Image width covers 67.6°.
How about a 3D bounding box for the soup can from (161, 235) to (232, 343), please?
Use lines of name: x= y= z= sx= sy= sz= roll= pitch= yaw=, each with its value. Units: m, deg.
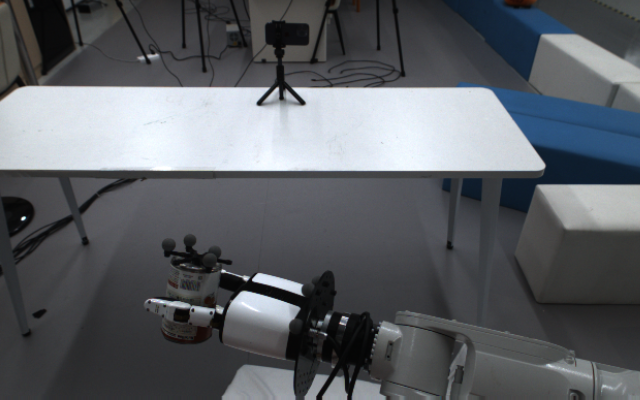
soup can: x=-0.168 y=0.131 z=0.640 sx=0.067 sy=0.101 sz=0.067 roll=10 pitch=9 yaw=-2
